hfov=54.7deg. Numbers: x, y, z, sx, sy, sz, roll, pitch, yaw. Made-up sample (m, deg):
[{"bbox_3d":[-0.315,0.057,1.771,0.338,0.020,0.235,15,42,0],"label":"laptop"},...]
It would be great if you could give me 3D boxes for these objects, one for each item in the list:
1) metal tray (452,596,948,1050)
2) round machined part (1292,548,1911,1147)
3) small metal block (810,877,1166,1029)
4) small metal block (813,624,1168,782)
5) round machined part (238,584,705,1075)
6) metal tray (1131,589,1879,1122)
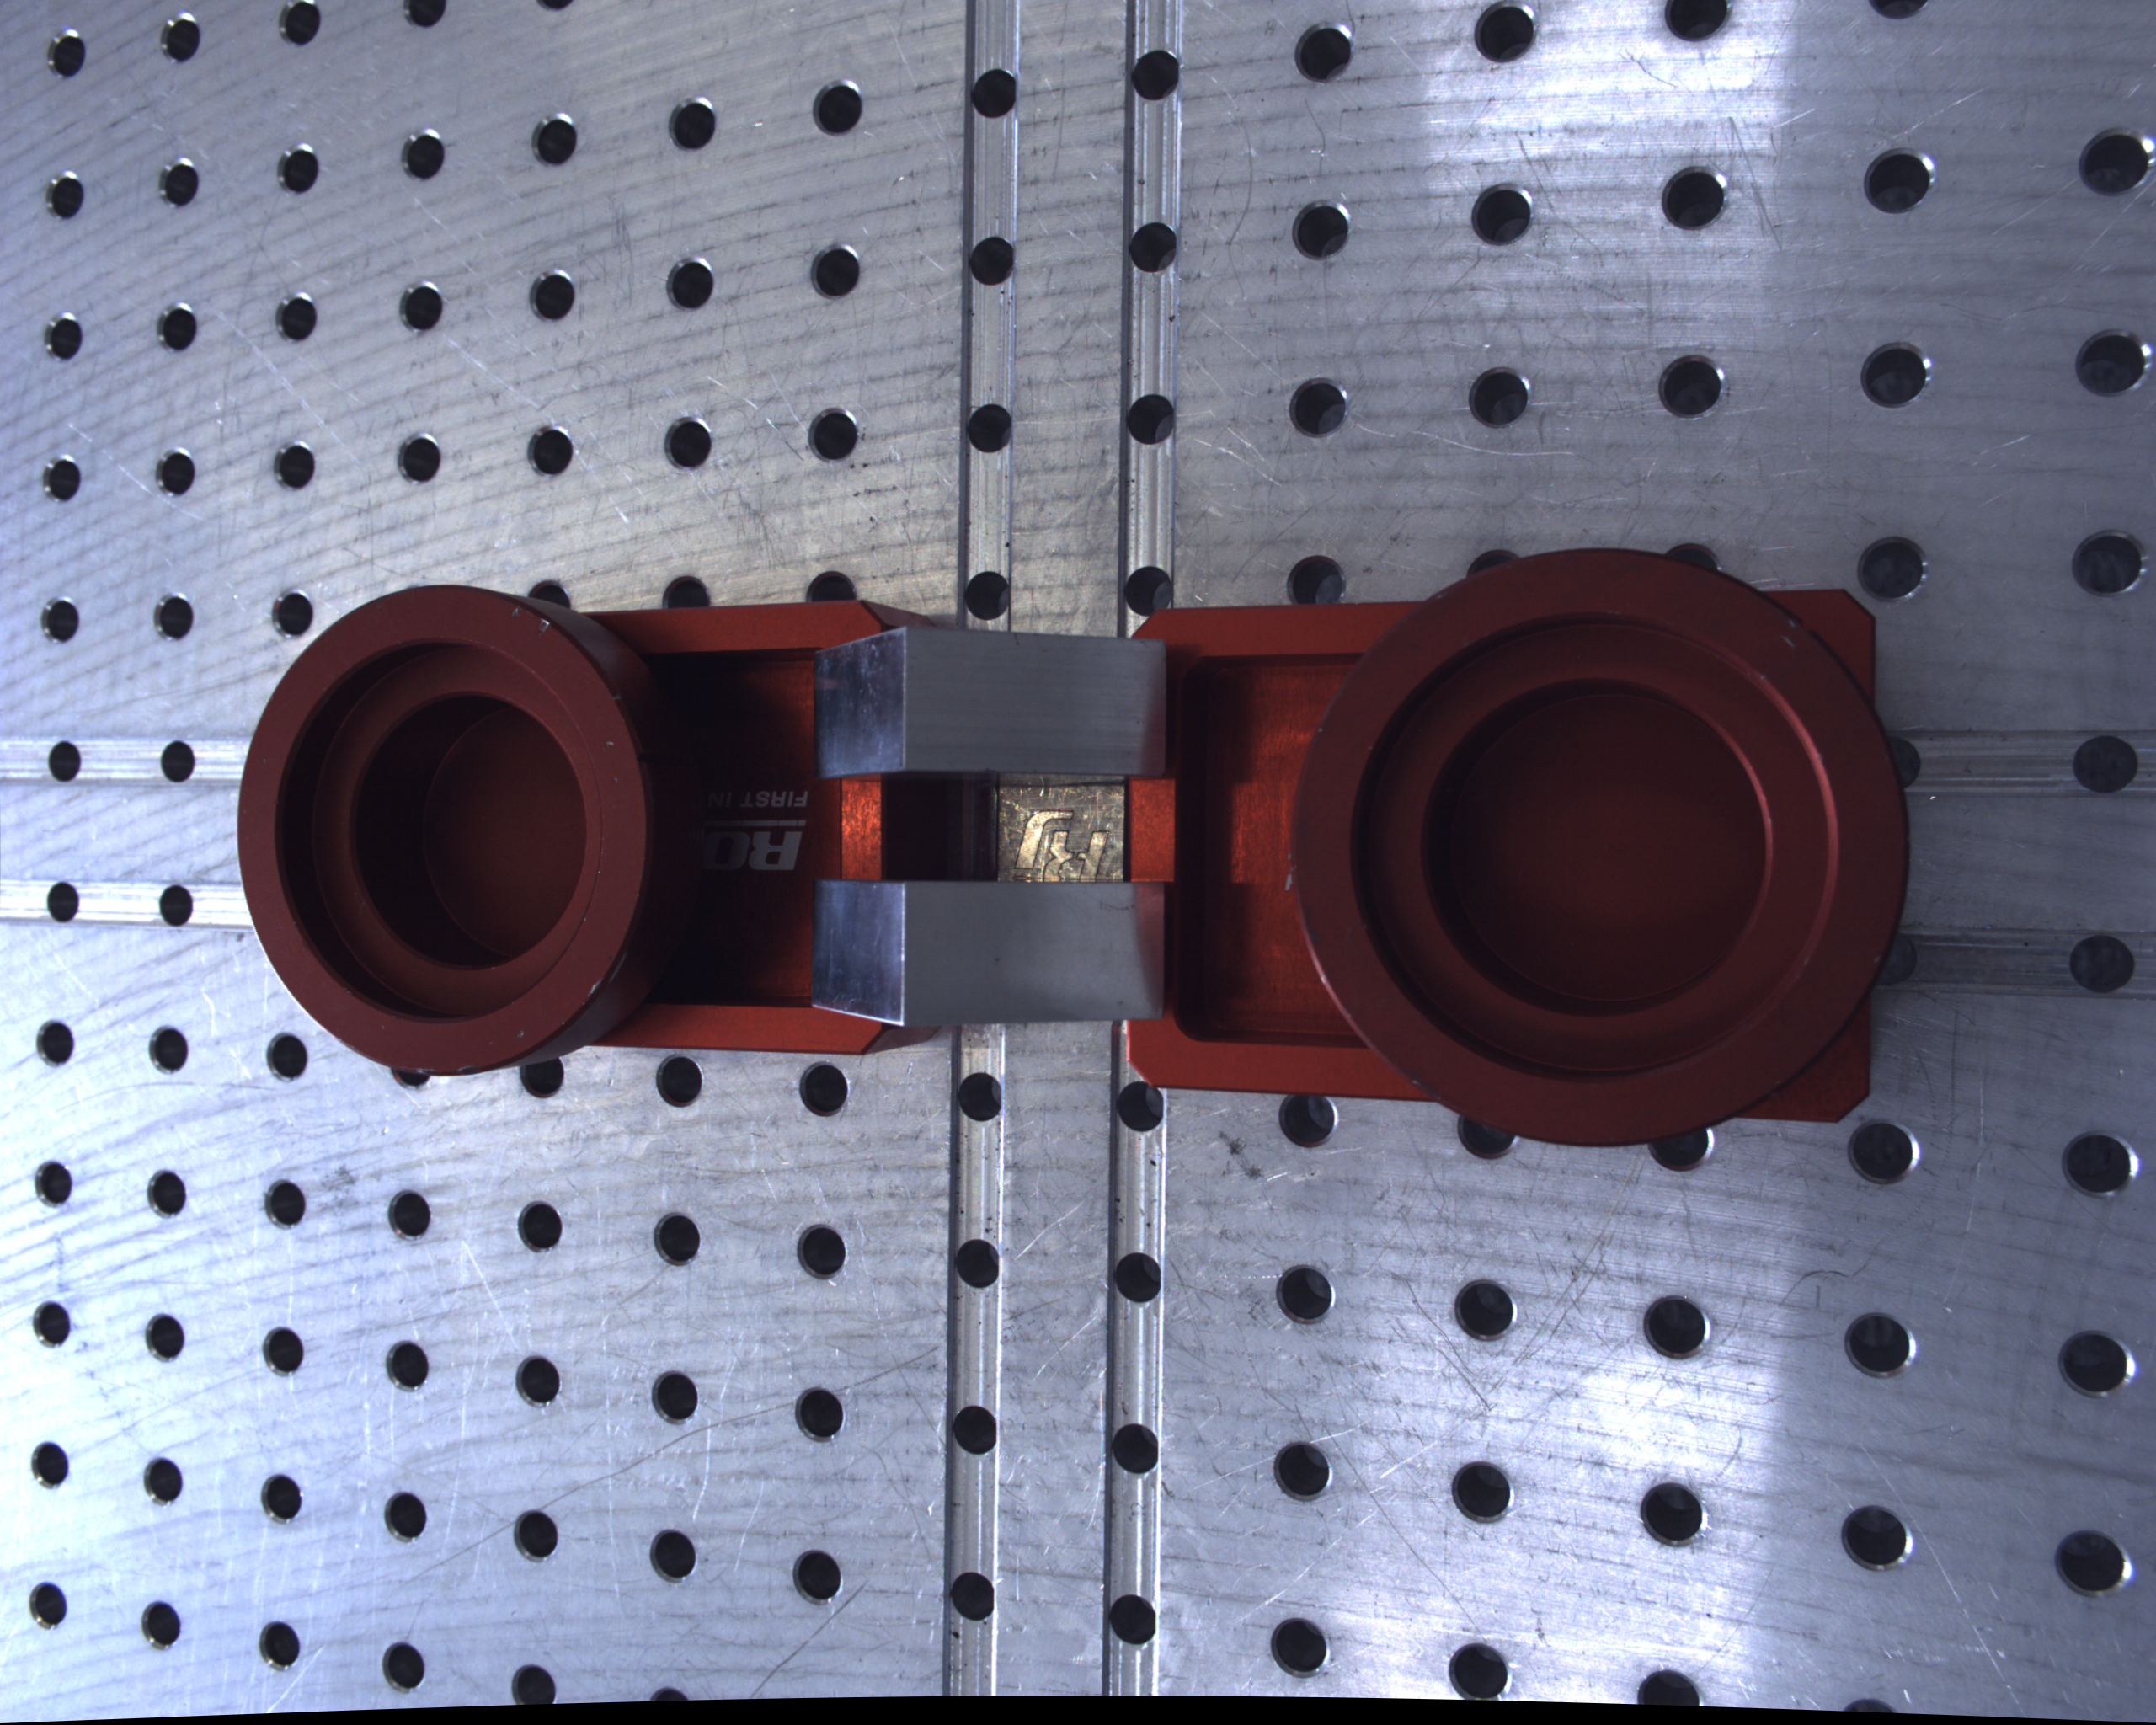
[{"bbox_3d":[-0.094,-0.008,0.444,0.130,0.030,0.089,-1,92,20],"label":"metal tray"},{"bbox_3d":[0.090,-0.003,0.358,0.098,0.042,0.097,0,90,20],"label":"round machined part"},{"bbox_3d":[-0.018,0.016,0.390,0.050,0.050,0.025,-178,89,-64],"label":"small metal block"},{"bbox_3d":[-0.017,-0.029,0.390,0.050,0.050,0.025,-178,89,-64],"label":"small metal block"},{"bbox_3d":[-0.120,-0.007,0.433,0.098,0.042,0.097,0,90,20],"label":"round machined part"},{"bbox_3d":[0.077,-0.002,0.383,0.130,0.030,0.089,1,90,19],"label":"metal tray"}]
